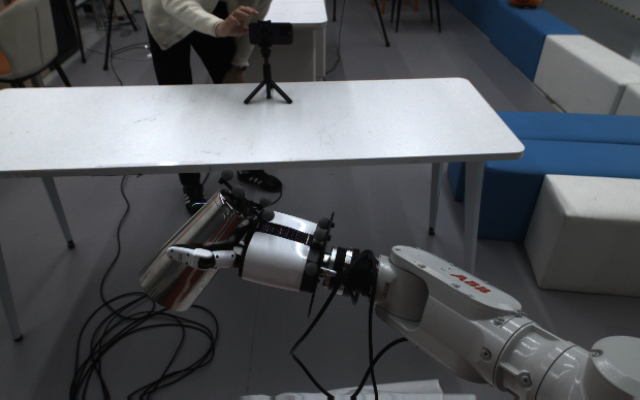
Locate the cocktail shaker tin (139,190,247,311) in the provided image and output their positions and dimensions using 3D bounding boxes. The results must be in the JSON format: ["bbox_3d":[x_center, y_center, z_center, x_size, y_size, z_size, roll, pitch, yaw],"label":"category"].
[{"bbox_3d":[-0.170,0.066,0.692,0.093,0.170,0.093,41,13,-12],"label":"cocktail shaker tin"}]
